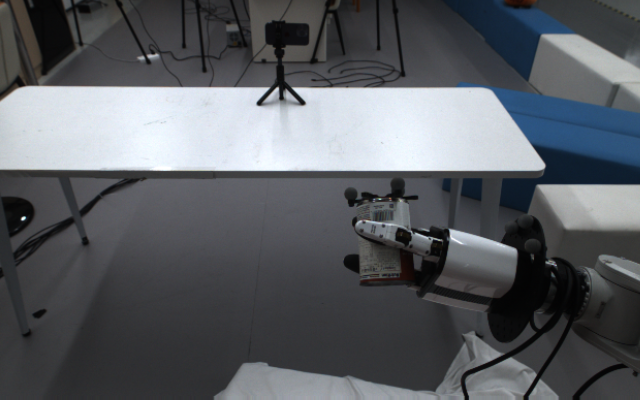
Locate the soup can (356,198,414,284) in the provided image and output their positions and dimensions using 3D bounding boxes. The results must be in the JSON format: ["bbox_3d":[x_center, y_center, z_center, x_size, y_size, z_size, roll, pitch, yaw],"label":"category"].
[{"bbox_3d":[0.080,0.051,0.596,0.067,0.067,0.101,0,75,-3],"label":"soup can"}]
